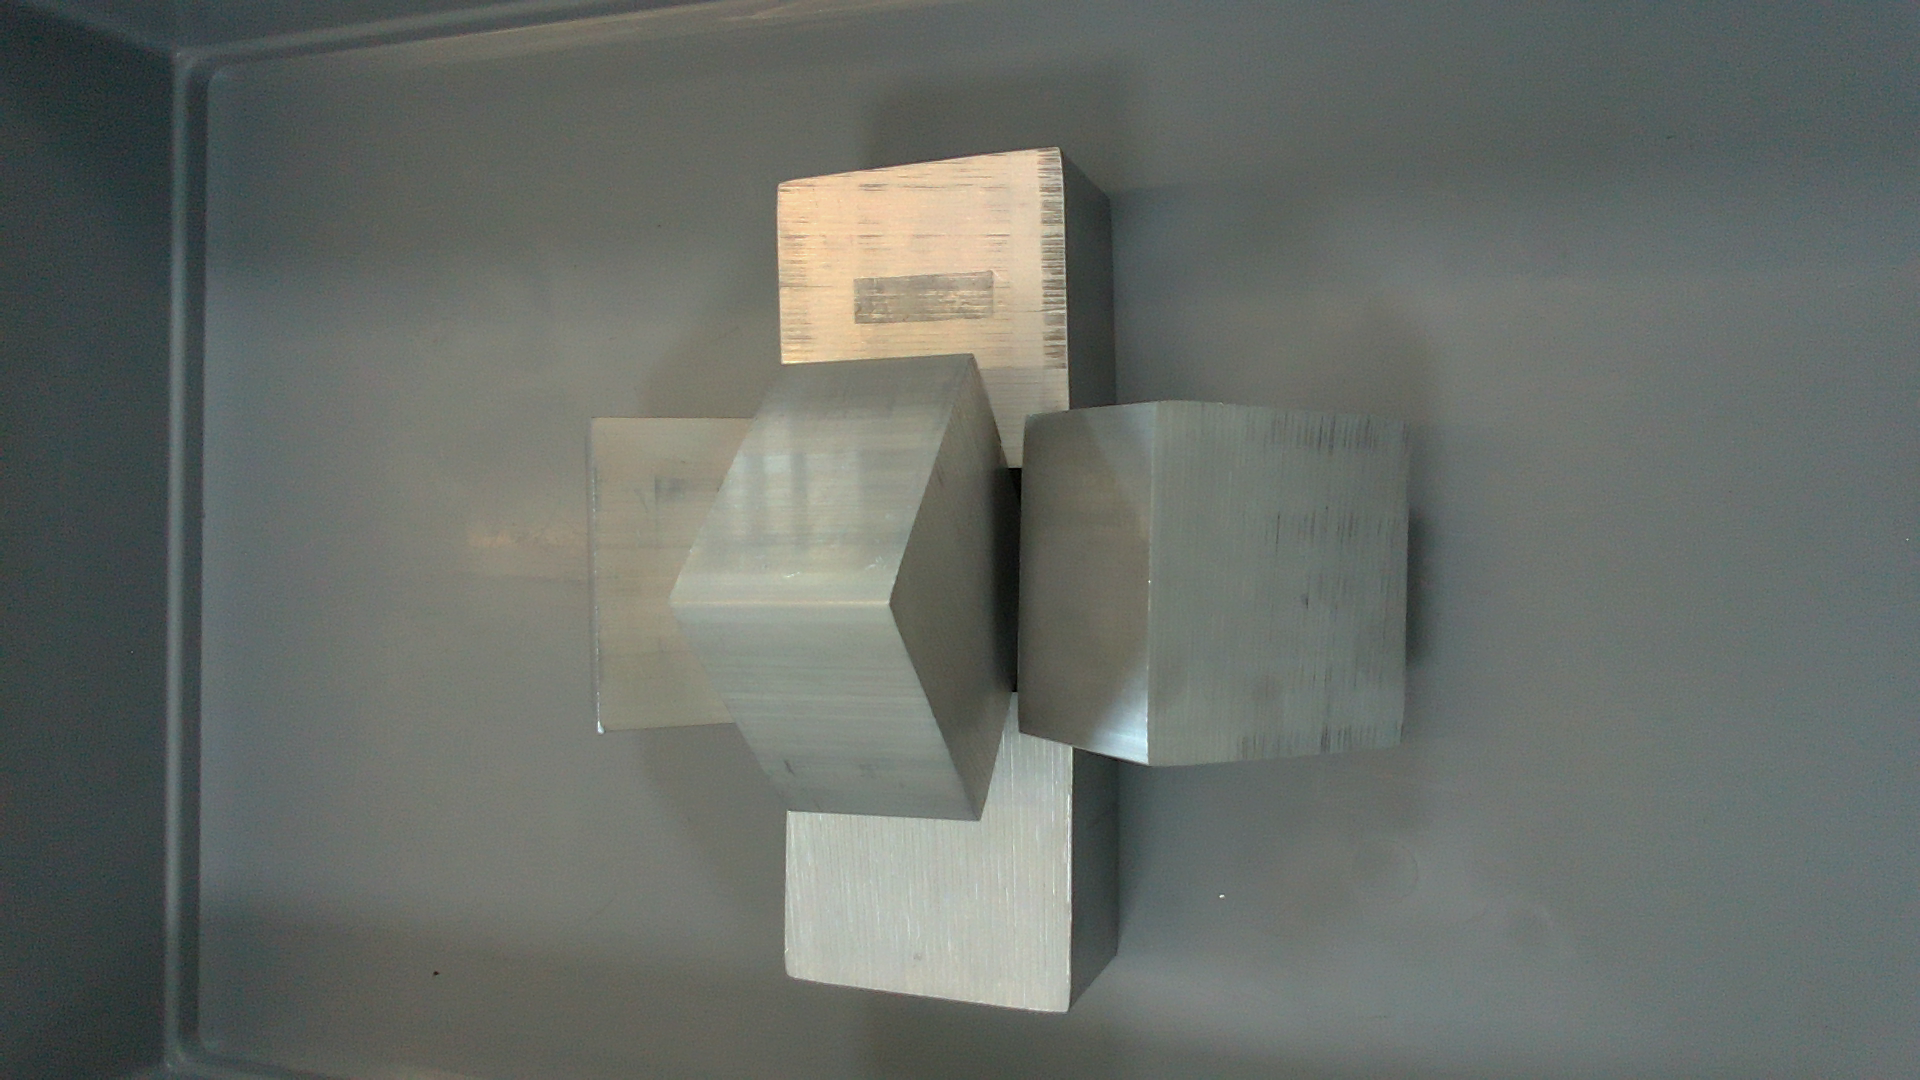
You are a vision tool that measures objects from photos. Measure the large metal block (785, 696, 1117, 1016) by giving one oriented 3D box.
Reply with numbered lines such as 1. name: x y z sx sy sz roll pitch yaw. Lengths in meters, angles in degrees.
1. large metal block: -0.001 0.079 0.382 0.080 0.050 0.080 1 90 20

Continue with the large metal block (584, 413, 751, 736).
1. large metal block: -0.078 0.008 0.386 0.050 0.080 0.080 -1 90 -16

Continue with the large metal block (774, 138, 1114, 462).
1. large metal block: -0.003 -0.059 0.380 0.080 0.050 0.080 -2 90 20

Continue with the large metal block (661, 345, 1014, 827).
1. large metal block: -0.020 0.011 0.330 0.050 0.080 0.080 -1 46 19

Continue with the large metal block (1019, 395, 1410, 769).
1. large metal block: 0.062 0.009 0.336 0.050 0.080 0.080 2 92 59
